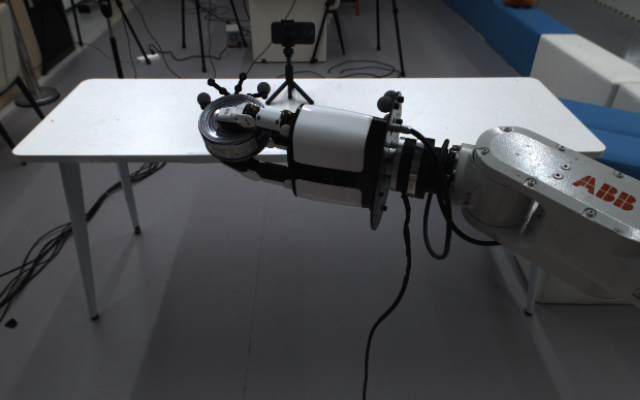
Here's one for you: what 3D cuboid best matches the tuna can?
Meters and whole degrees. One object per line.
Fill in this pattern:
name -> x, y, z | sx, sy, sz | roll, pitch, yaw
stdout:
tuna can -> -0.101, -0.085, 0.599 | 0.085, 0.034, 0.085 | -3, 58, 5
